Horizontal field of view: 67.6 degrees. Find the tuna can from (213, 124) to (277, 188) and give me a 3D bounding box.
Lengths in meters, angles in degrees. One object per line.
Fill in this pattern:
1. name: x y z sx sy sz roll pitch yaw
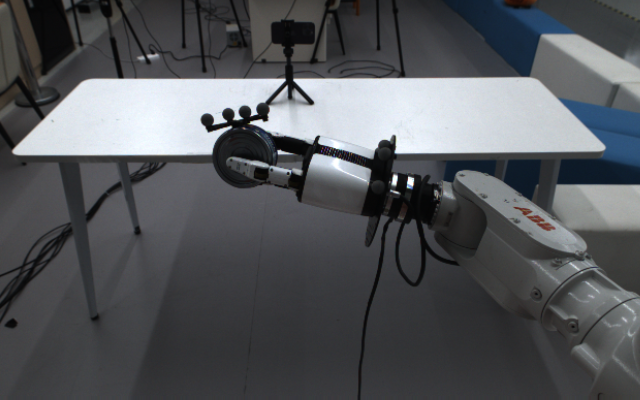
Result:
1. tuna can: -0.100 -0.054 0.665 0.085 0.085 0.034 6 18 6
